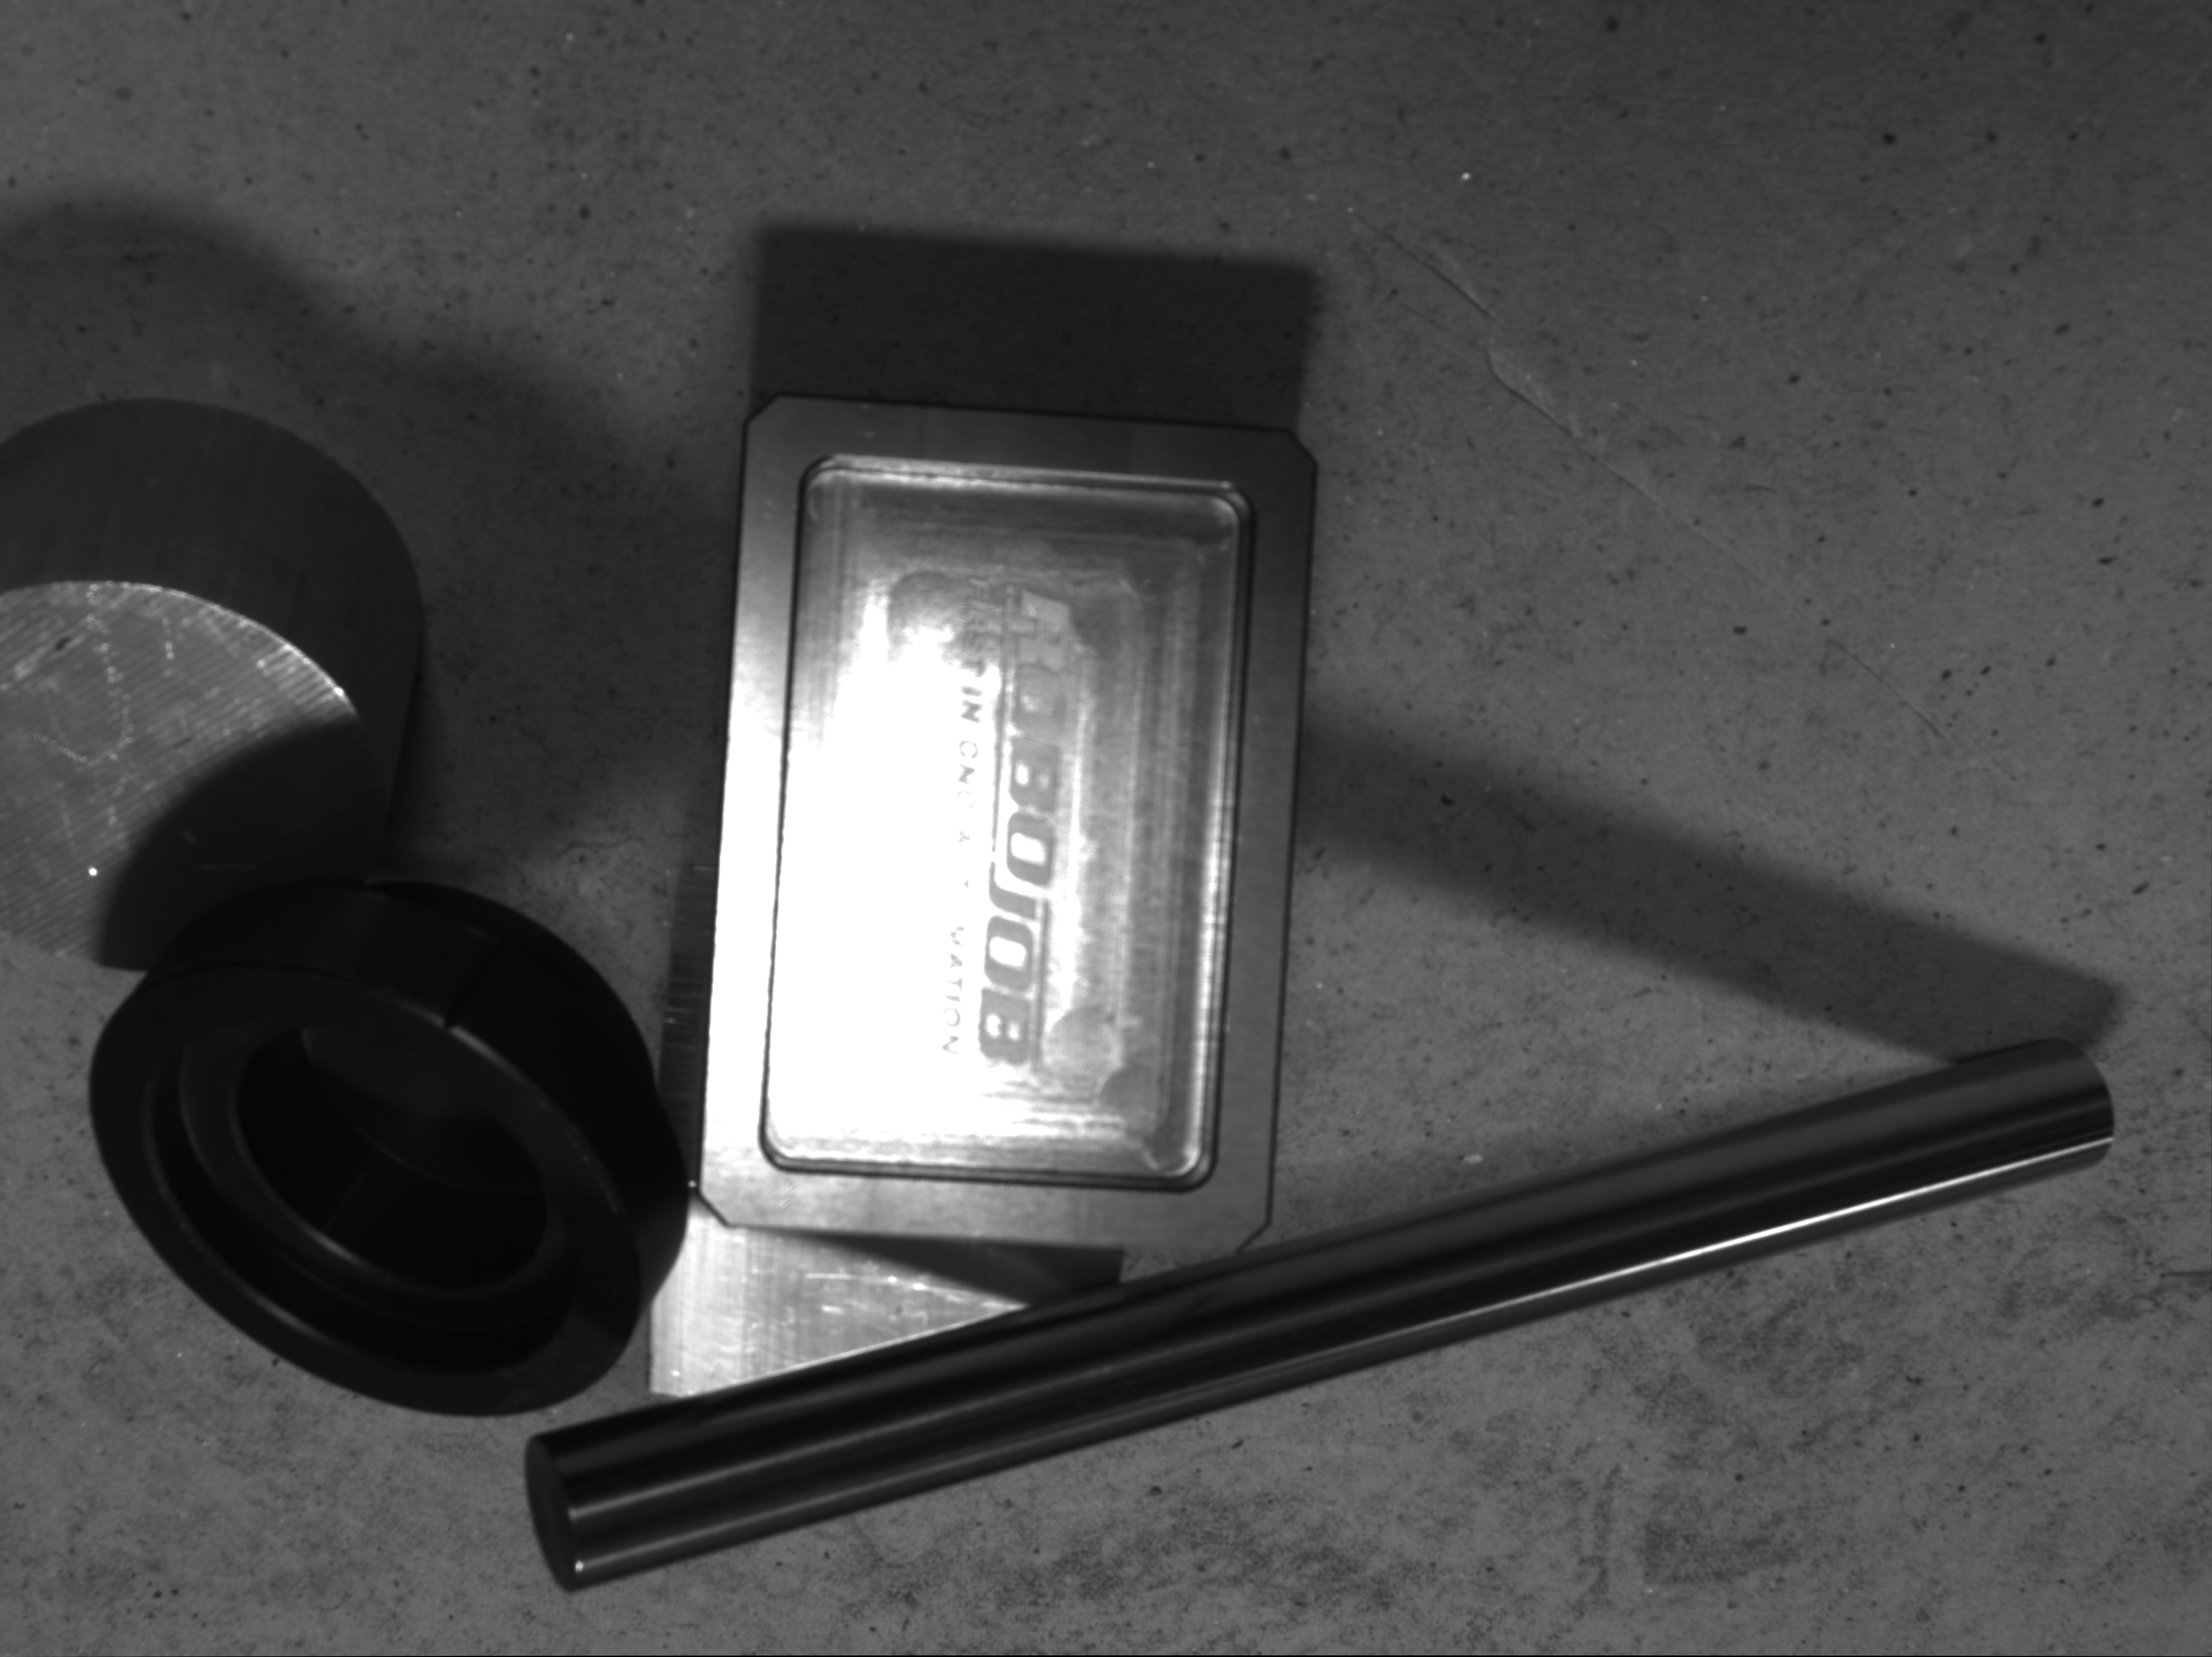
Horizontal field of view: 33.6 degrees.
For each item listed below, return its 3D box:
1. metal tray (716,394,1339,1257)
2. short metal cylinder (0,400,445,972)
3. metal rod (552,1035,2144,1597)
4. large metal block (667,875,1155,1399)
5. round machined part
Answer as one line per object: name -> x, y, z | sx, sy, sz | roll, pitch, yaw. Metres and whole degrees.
metal tray -> -0.013, 0.000, 0.585 | 0.090, 0.030, 0.130 | 4, 90, -5
short metal cylinder -> -0.151, -0.023, 0.598 | 0.080, 0.050, 0.080 | -1, 130, -1
metal rod -> 0.053, 0.079, 0.630 | 0.301, 0.025, 0.025 | -12, 134, -24
large metal block -> -0.034, 0.056, 0.648 | 0.080, 0.080, 0.050 | 4, 130, -5
round machined part -> -0.111, 0.048, 0.606 | 0.098, 0.042, 0.098 | 12, 130, 15
